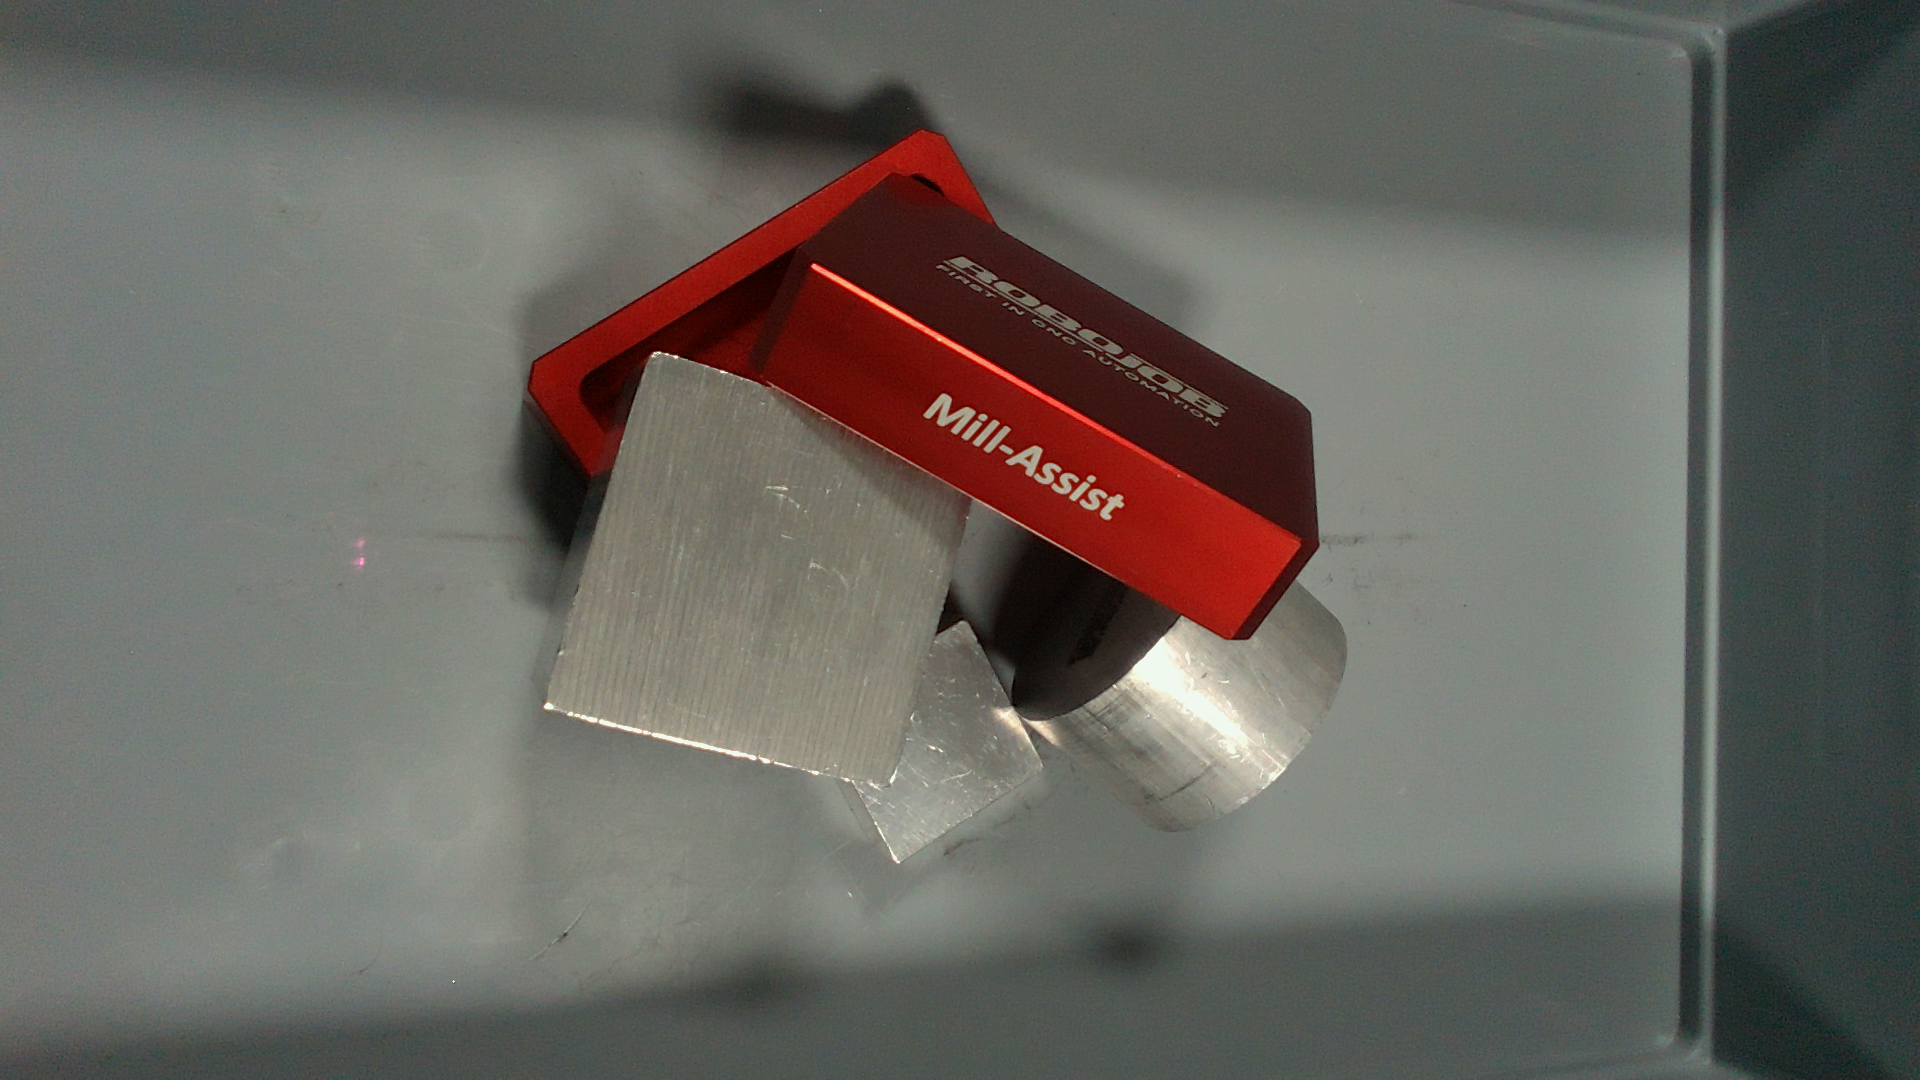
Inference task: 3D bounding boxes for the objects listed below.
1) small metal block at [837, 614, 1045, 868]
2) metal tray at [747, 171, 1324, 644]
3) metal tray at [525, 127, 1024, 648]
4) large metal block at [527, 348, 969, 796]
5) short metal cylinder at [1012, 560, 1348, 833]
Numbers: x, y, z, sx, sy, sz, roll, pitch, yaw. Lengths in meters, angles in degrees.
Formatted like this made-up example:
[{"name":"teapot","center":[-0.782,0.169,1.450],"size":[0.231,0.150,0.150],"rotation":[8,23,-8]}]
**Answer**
[{"name":"small metal block","center":[-0.012,0.055,0.388],"size":[0.050,0.025,0.050],"rotation":[-31,100,-17]},{"name":"metal tray","center":[0.024,-0.037,0.335],"size":[0.130,0.090,0.030],"rotation":[29,119,-3]},{"name":"metal tray","center":[-0.039,-0.040,0.375],"size":[0.130,0.030,0.090],"rotation":[-36,102,-16]},{"name":"large metal block","center":[-0.050,0.009,0.327],"size":[0.080,0.050,0.080],"rotation":[17,84,-19]},{"name":"short metal cylinder","center":[0.060,0.034,0.386],"size":[0.050,0.080,0.080],"rotation":[41,77,-15]}]
